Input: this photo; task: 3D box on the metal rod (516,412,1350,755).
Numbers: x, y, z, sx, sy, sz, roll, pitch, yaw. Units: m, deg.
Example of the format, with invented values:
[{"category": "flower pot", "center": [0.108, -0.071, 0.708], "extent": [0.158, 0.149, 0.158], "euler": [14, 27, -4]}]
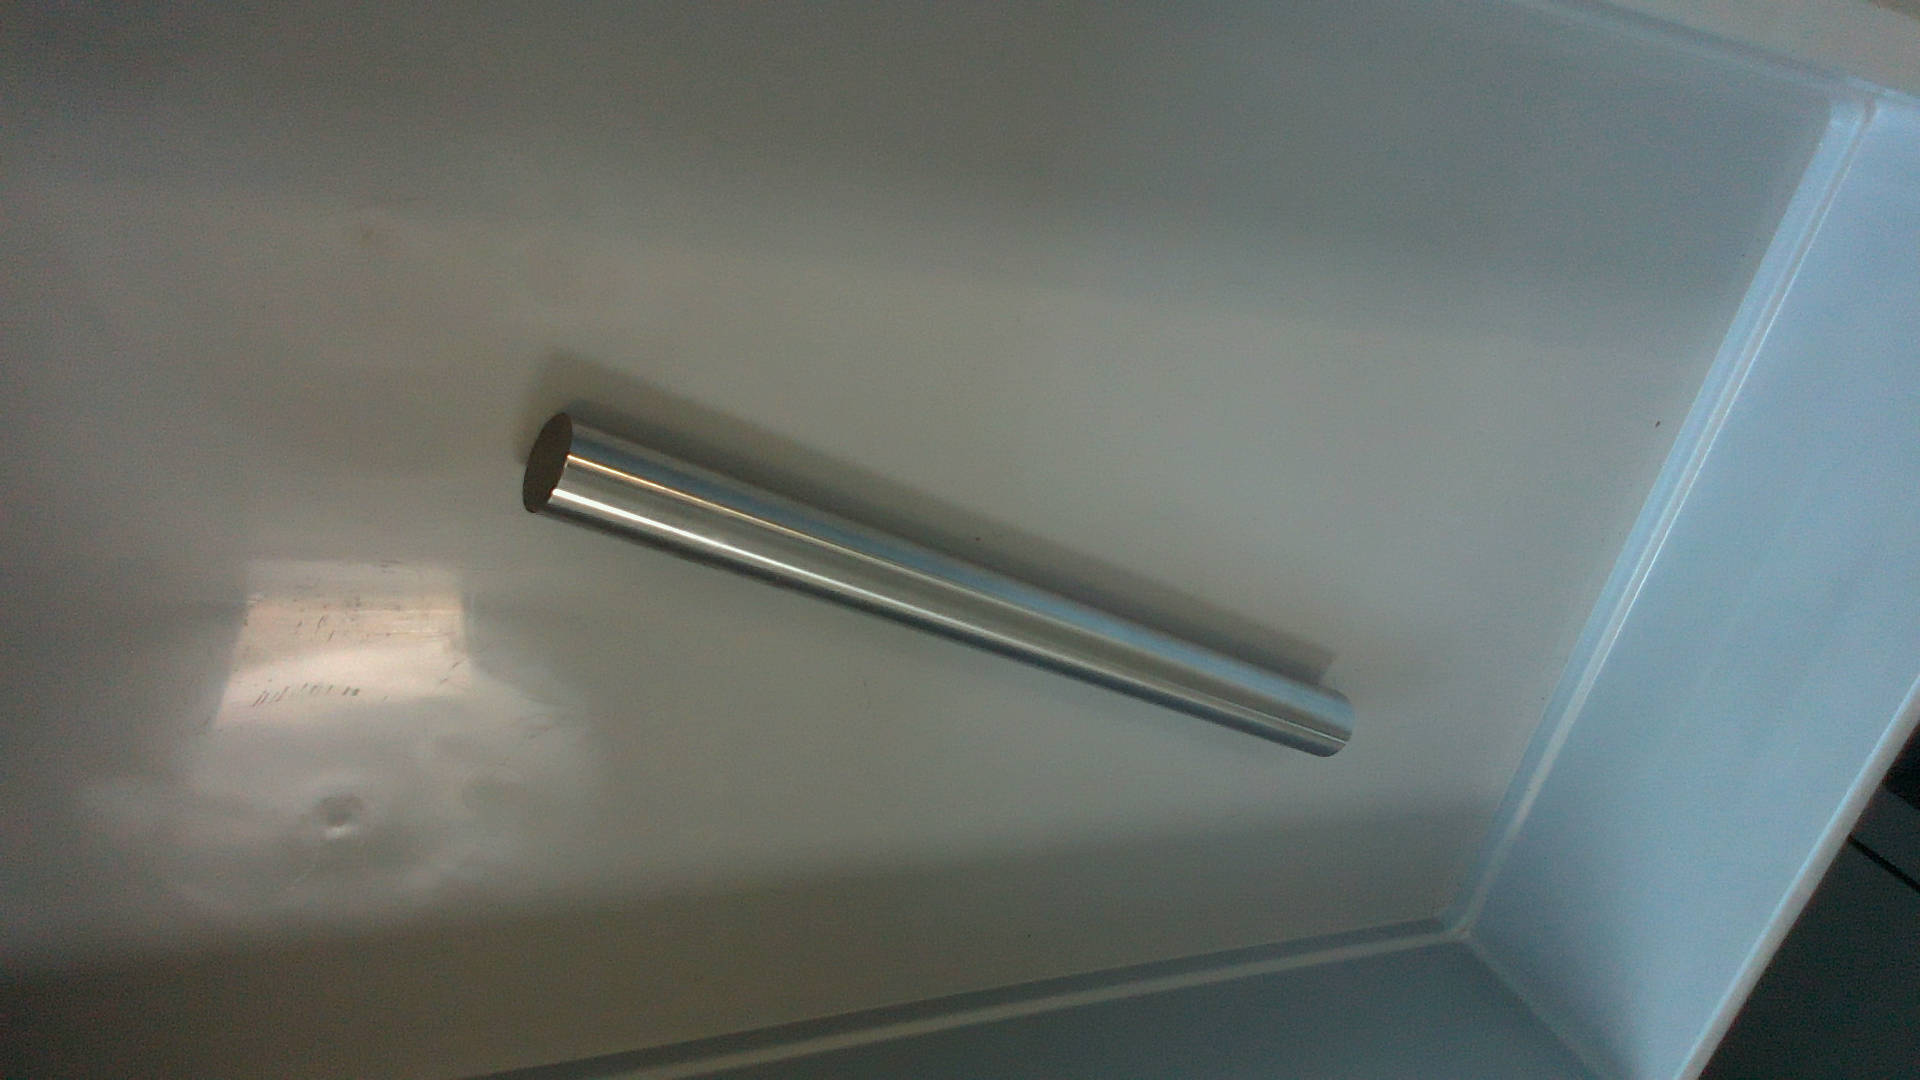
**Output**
[{"category": "metal rod", "center": [0.016, 0.024, 0.411], "extent": [0.301, 0.025, 0.025], "euler": [20, 108, -36]}]
